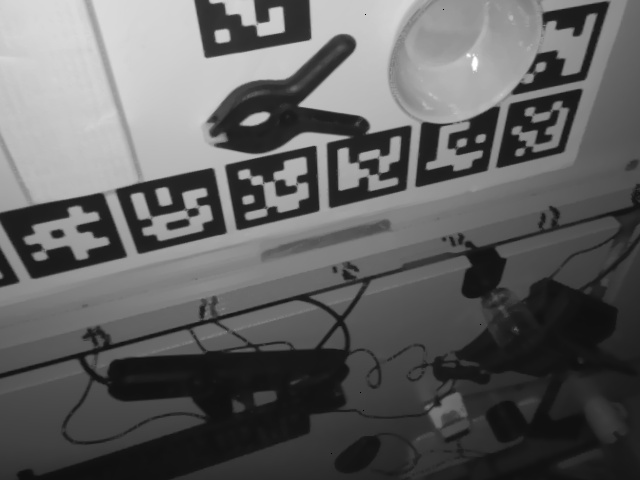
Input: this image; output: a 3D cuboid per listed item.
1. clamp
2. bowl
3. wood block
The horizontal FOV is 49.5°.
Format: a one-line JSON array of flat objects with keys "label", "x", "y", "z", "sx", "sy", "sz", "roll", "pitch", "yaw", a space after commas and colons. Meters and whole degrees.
[{"label": "clamp", "x": -0.006, "y": -0.135, "z": 0.683, "sx": 0.165, "sy": 0.036, "sz": 0.121, "roll": -19, "pitch": 138, "yaw": -2}, {"label": "bowl", "x": 0.151, "y": -0.193, "z": 0.679, "sx": 0.163, "sy": 0.055, "sz": 0.160, "roll": -12, "pitch": 134, "yaw": -12}, {"label": "wood block", "x": -0.199, "y": -0.139, "z": 0.538, "sx": 0.090, "sy": 0.091, "sz": 0.204, "roll": -11, "pitch": 136, "yaw": -12}]
